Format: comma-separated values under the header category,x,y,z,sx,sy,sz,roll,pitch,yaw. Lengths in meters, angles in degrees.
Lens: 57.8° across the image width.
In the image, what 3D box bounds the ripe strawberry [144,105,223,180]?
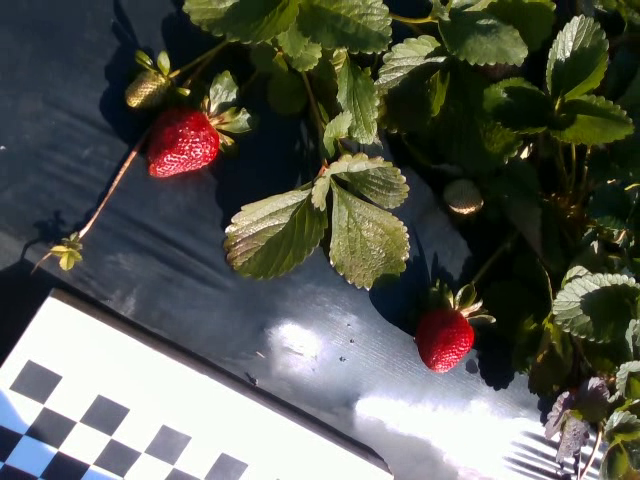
category,x,y,z,sx,sy,sz,roll,pitch,yaw
ripe strawberry,-0.079,-0.051,0.316,0.043,0.053,0.042,-20,-57,44

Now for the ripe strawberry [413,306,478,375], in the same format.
category,x,y,z,sx,sy,sz,roll,pitch,yaw
ripe strawberry,0.078,0.070,0.377,0.043,0.043,0.050,-3,27,33
